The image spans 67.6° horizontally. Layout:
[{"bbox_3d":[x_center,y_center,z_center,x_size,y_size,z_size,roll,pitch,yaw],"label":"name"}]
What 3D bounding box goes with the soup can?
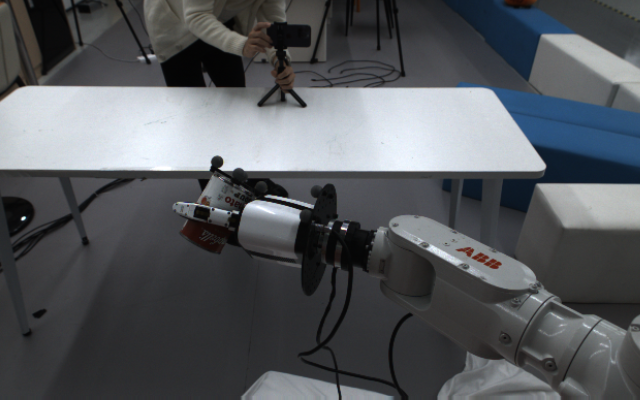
[{"bbox_3d":[-0.150,0.020,0.707,0.067,0.101,0.067,29,-3,2],"label":"soup can"}]
